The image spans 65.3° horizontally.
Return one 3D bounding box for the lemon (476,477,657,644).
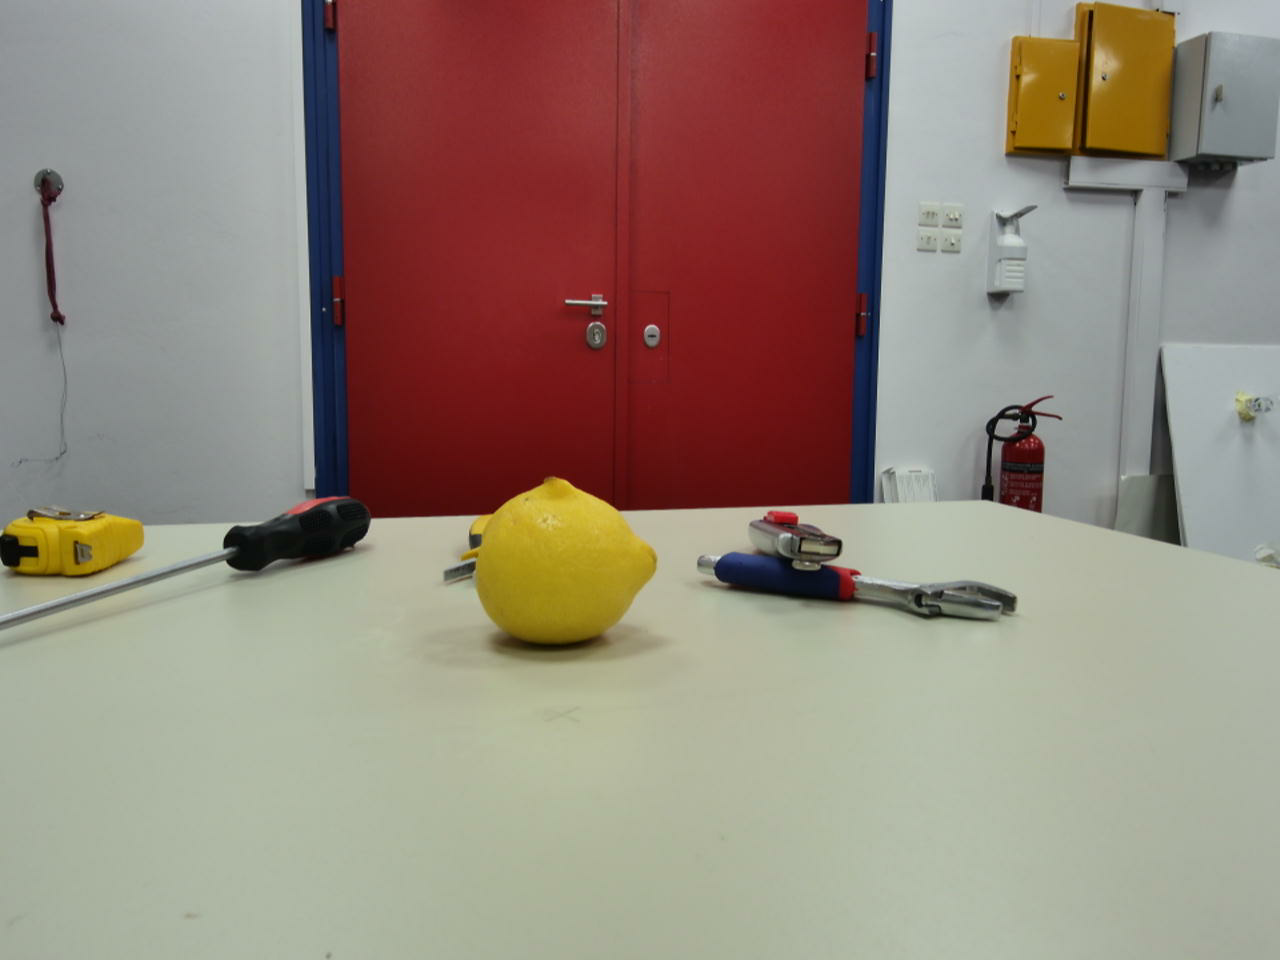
[{"bbox_3d":[-0.036,0.034,0.432,0.071,0.071,0.070,3,6,43],"label":"lemon"}]
